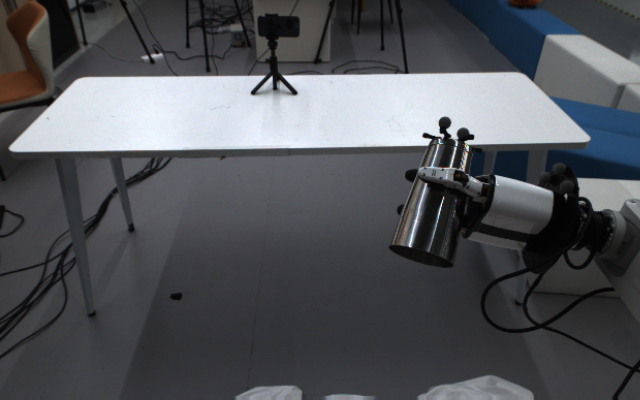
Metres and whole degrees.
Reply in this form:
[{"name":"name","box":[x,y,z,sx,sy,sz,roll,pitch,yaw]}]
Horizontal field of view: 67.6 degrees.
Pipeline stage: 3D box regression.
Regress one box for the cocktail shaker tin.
[{"name":"cocktail shaker tin","box":[0.167,-0.001,0.691,0.093,0.093,0.170,15,75,17]}]
